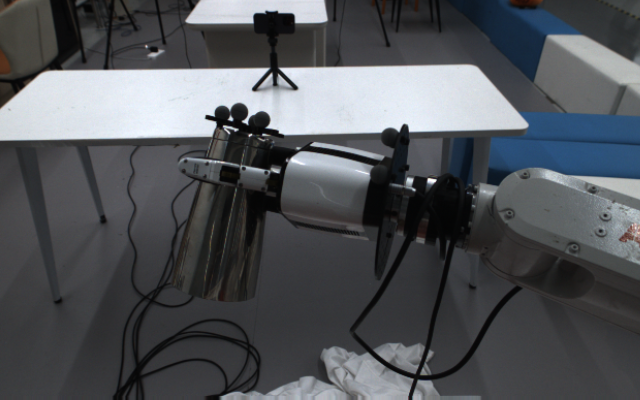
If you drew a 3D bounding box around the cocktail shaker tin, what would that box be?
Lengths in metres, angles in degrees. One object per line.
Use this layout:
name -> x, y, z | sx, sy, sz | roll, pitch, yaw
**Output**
cocktail shaker tin -> -0.096, 0.012, 0.526 | 0.093, 0.170, 0.093 | 12, 3, -1
